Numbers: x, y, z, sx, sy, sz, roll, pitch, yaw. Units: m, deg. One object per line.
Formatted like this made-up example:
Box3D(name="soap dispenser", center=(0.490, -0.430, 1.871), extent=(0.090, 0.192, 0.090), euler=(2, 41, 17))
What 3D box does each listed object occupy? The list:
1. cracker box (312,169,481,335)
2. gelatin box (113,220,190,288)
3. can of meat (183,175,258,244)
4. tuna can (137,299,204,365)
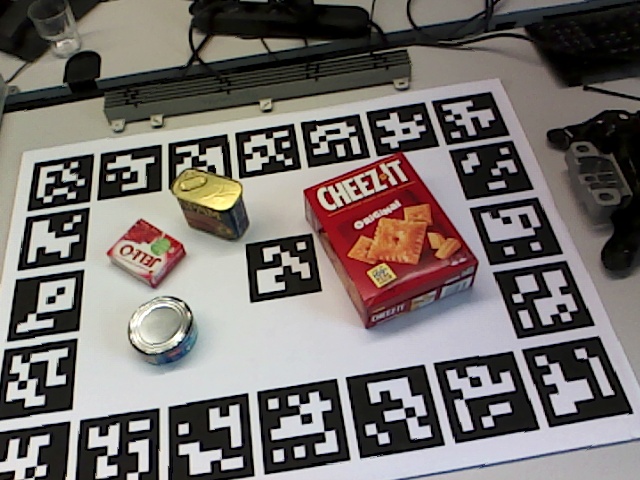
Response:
Box3D(name="cracker box", center=(0.103, 0.008, 0.889), extent=(0.164, 0.072, 0.215), euler=(-21, 53, -11))
Box3D(name="gelatin box", center=(-0.254, 0.020, 0.937), extent=(0.090, 0.030, 0.073), euler=(29, 59, 21))
Box3D(name="can of meat", center=(-0.150, -0.044, 0.949), extent=(0.102, 0.083, 0.058), euler=(17, 57, 18))
Box3D(name="tuna can", center=(-0.204, 0.127, 0.848), extent=(0.086, 0.033, 0.086), euler=(-3, 57, 4))
